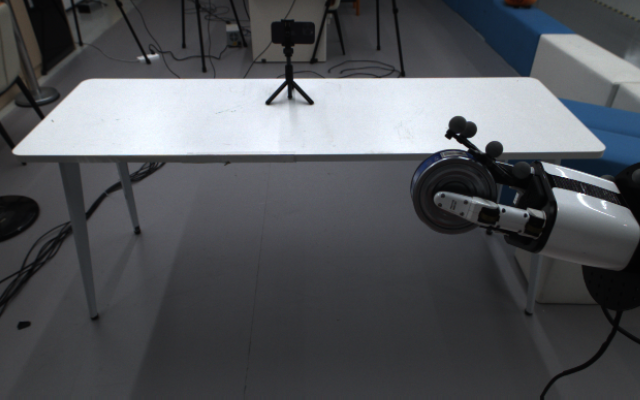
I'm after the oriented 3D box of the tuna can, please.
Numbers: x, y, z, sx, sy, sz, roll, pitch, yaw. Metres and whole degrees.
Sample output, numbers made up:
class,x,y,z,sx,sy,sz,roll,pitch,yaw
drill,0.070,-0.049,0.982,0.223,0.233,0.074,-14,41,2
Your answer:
class,x,y,z,sx,sy,sz,roll,pitch,yaw
tuna can,0.143,-0.003,0.505,0.085,0.085,0.034,7,19,6
